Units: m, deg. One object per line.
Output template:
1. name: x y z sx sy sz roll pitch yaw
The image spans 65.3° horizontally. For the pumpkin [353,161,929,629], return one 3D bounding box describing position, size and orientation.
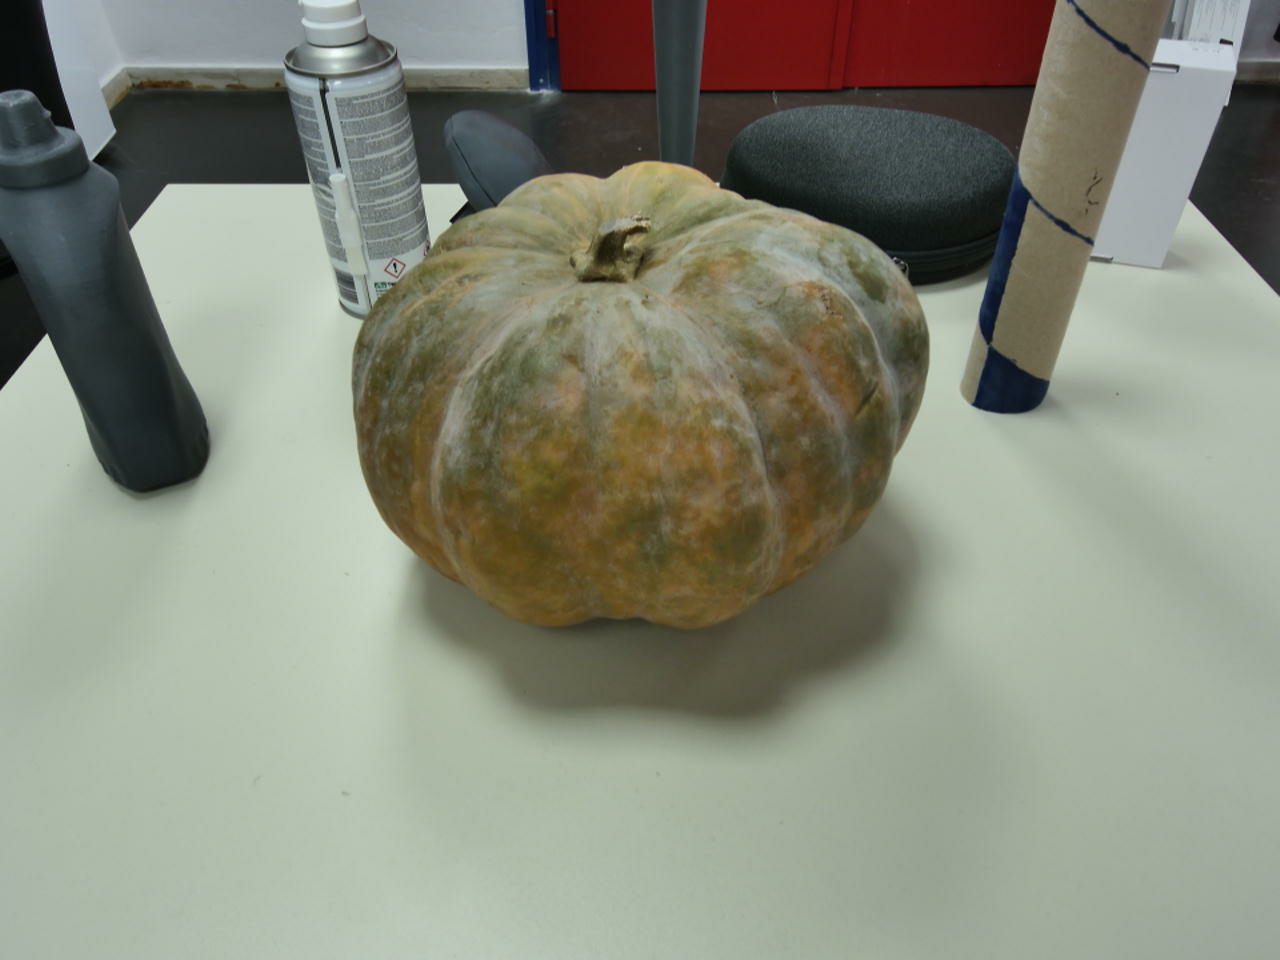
1. pumpkin: -0.007 -0.042 0.453 0.252 0.169 0.251 0 39 0
